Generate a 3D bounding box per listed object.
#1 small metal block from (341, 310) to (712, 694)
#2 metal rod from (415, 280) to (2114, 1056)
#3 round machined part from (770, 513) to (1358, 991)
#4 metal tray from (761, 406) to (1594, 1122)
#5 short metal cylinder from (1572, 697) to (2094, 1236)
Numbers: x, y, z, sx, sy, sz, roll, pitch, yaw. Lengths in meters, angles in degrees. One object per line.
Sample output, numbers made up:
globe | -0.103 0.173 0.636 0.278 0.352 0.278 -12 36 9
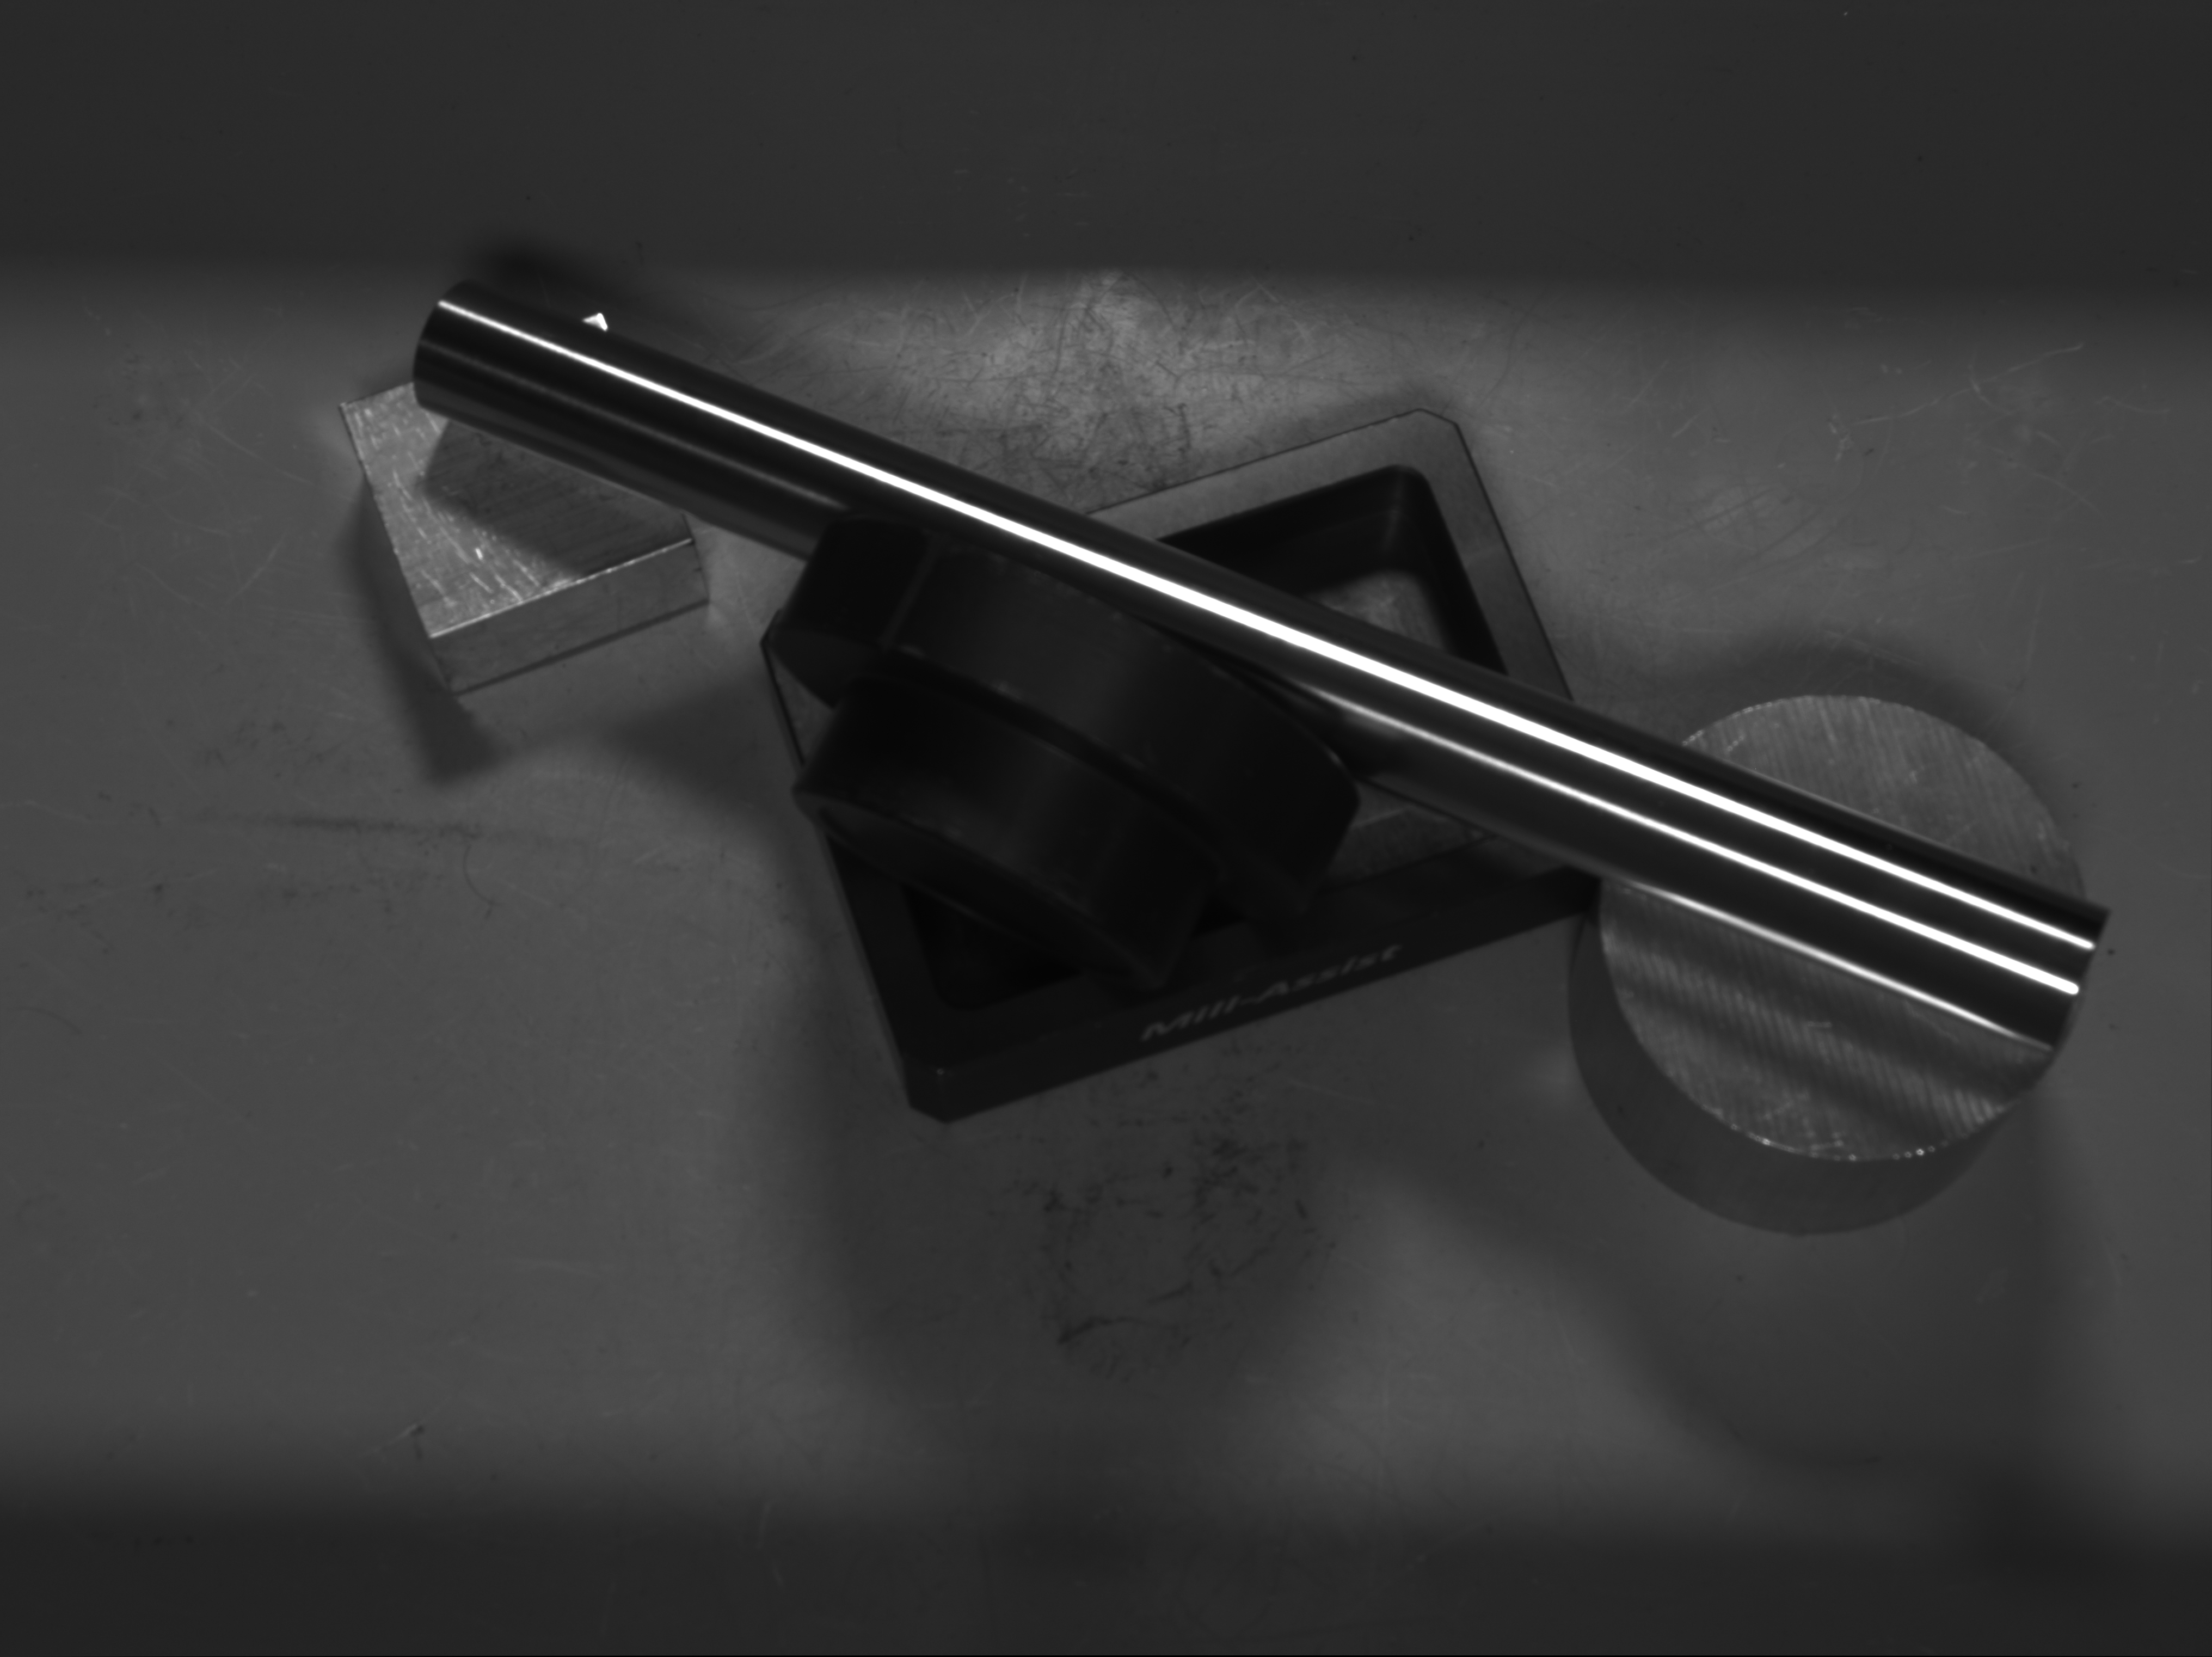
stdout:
small metal block | -0.105 -0.059 0.665 0.050 0.025 0.050 -21 71 -7
metal rod | 0.019 -0.031 0.611 0.300 0.025 0.025 22 71 15
round machined part | -0.012 -0.008 0.594 0.098 0.098 0.042 26 80 9
metal tray | 0.015 -0.012 0.645 0.130 0.030 0.090 -18 71 -7
short metal cylinder | 0.122 0.024 0.622 0.080 0.050 0.080 0 70 0
